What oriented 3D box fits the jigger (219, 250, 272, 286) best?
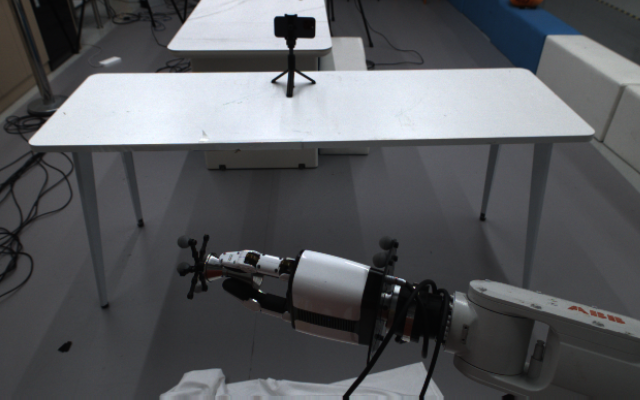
[{"bbox_3d":[-0.104,0.088,0.632,0.071,0.043,0.043,4,34,13],"label":"jigger"}]
